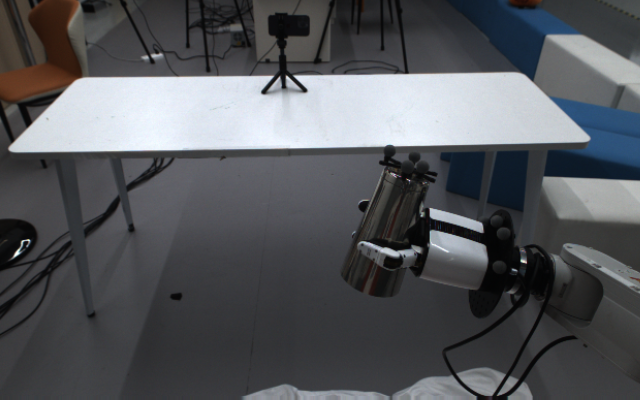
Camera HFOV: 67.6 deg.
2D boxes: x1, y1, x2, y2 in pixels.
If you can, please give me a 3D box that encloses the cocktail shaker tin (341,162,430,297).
[{"bbox_3d":[0.098,0.041,0.691,0.093,0.170,0.093,14,20,-5],"label":"cocktail shaker tin"}]
